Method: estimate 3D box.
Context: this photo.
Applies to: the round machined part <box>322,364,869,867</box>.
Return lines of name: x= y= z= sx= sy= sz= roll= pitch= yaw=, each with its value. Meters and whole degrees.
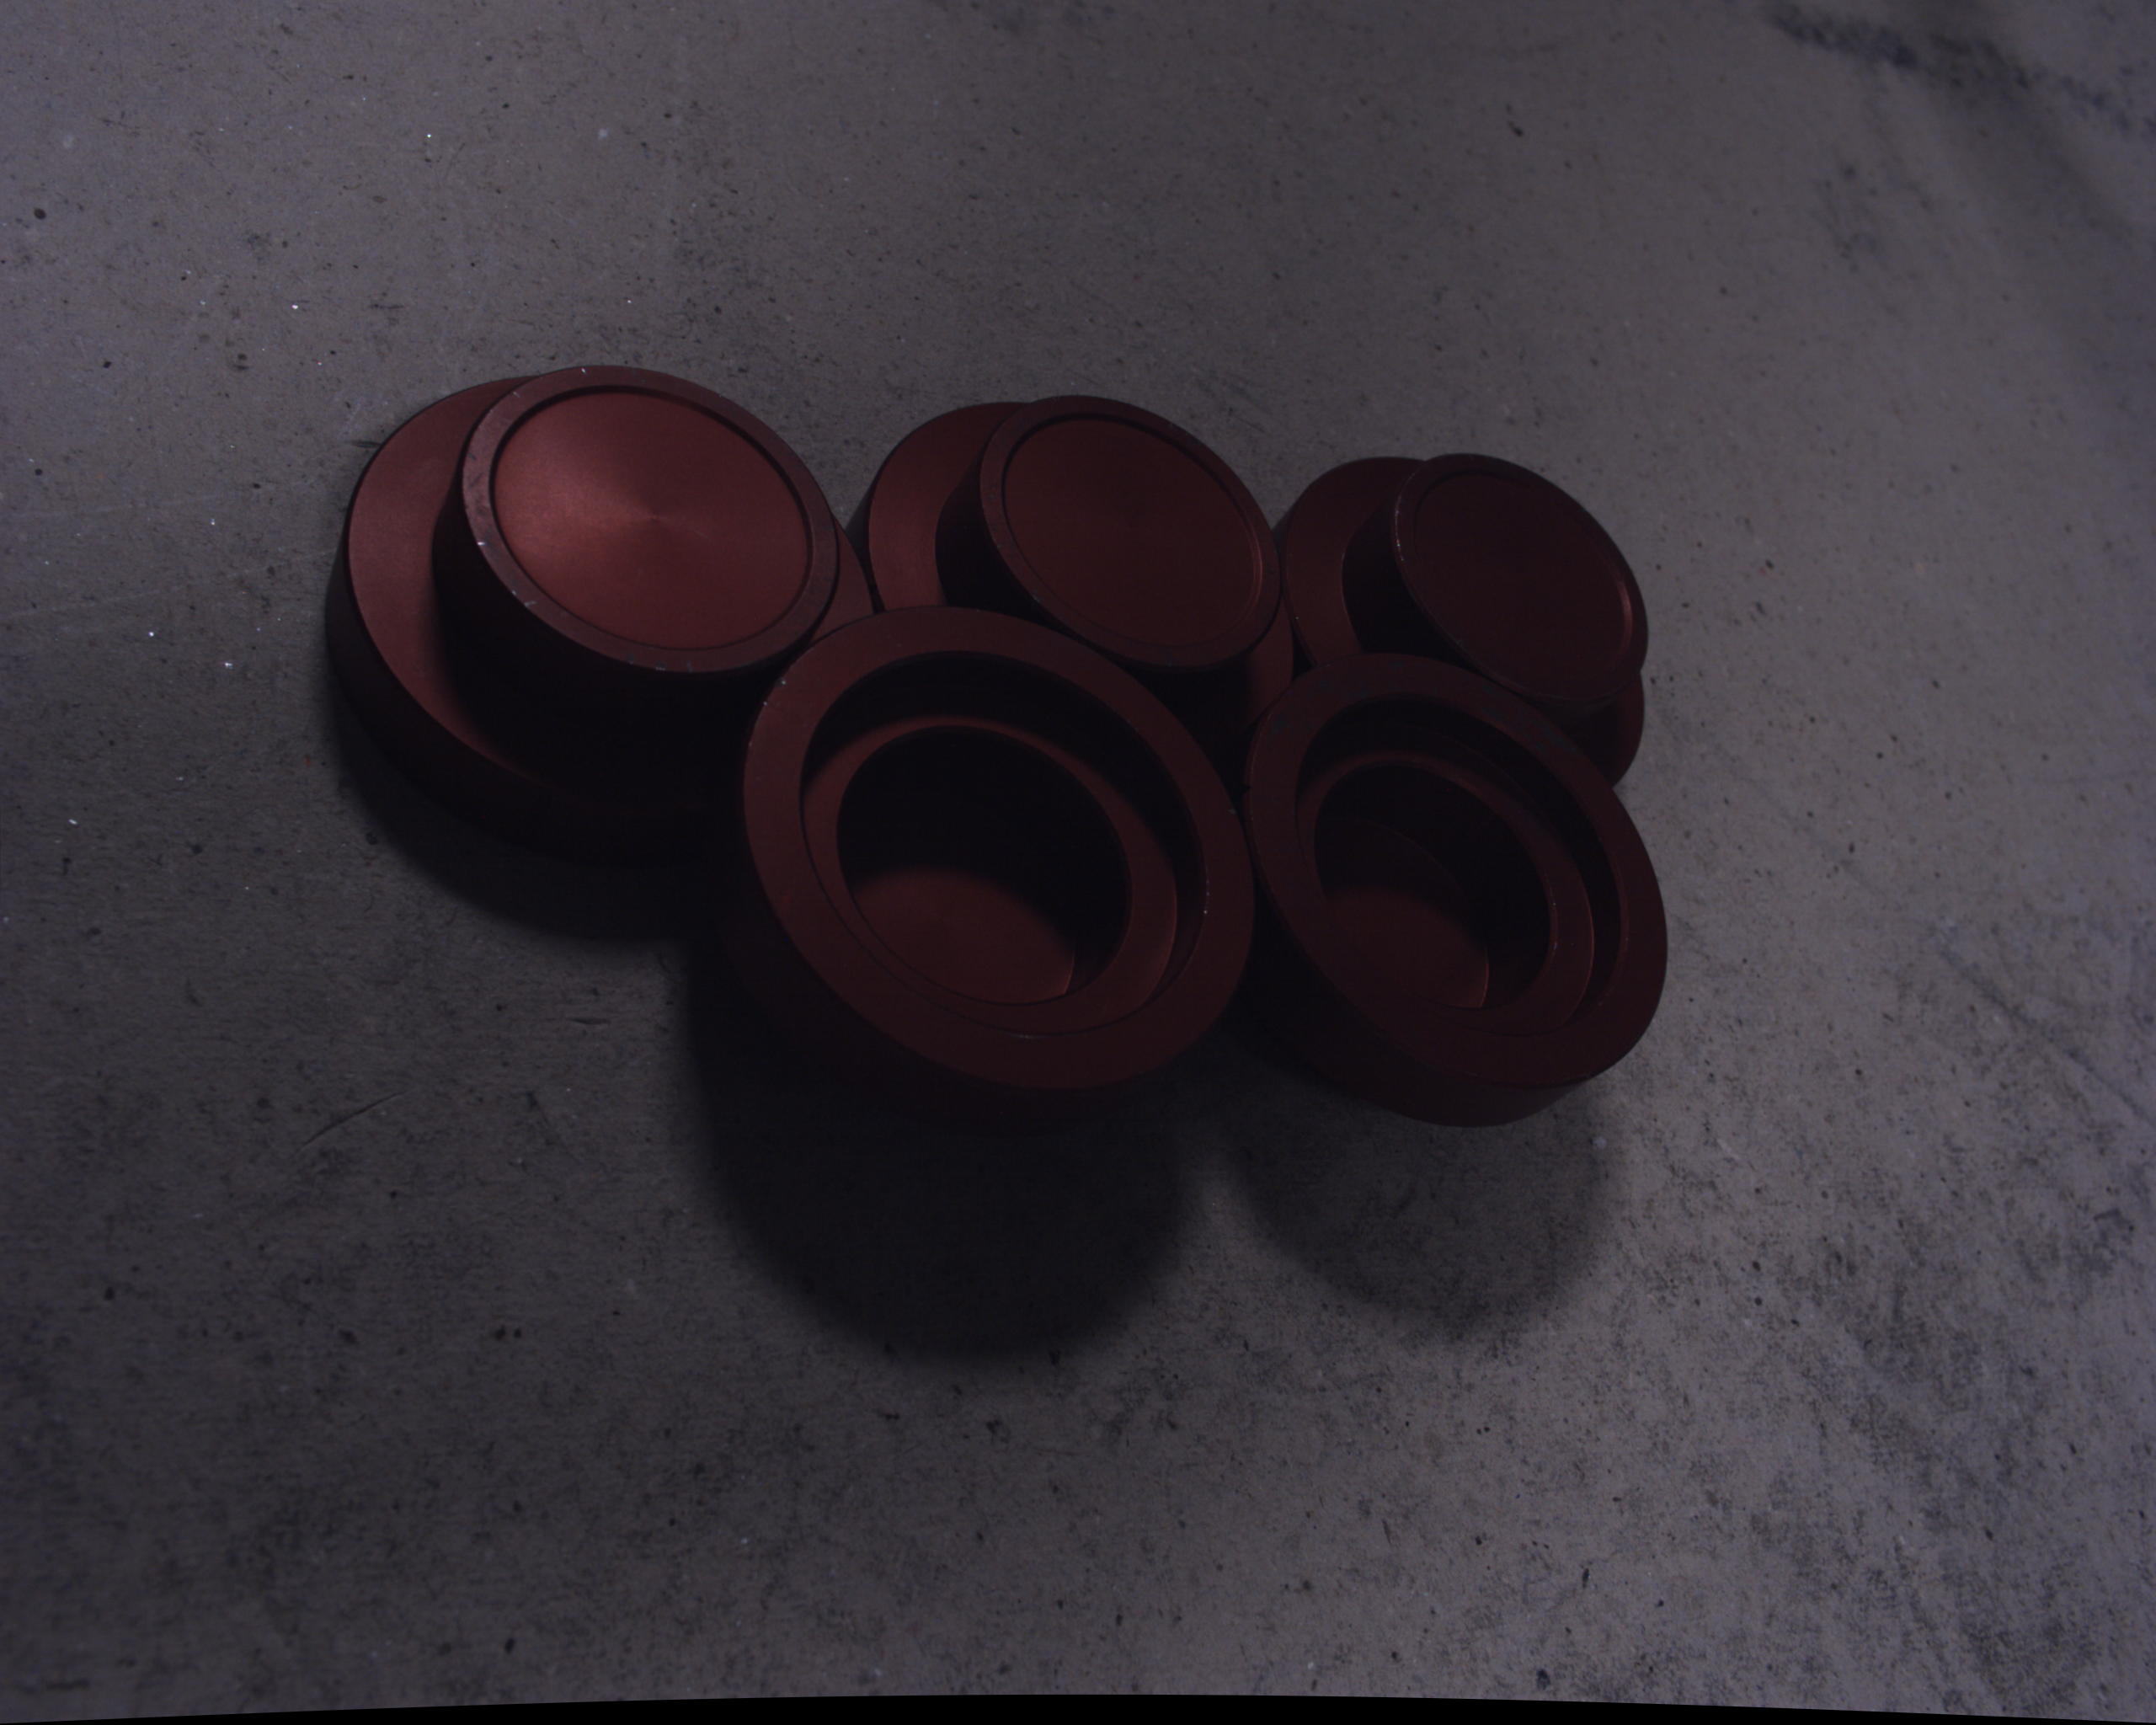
round machined part: x=-0.084 y=-0.052 z=0.382 sx=0.099 sy=0.042 sz=0.098 roll=14 pitch=56 yaw=-21

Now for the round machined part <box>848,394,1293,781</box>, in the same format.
round machined part: x=0.002 y=-0.057 z=0.432 sx=0.099 sy=0.042 sz=0.098 roll=14 pitch=56 yaw=-21

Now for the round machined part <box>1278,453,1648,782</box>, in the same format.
round machined part: x=0.090 y=-0.054 z=0.478 sx=0.099 sy=0.042 sz=0.098 roll=14 pitch=56 yaw=-21

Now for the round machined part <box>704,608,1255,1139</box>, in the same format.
round machined part: x=-0.021 y=0.005 z=0.381 sx=0.099 sy=0.042 sz=0.098 roll=14 pitch=56 yaw=-21

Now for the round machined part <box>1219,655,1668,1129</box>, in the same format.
round machined part: x=0.068 y=0.009 z=0.427 sx=0.099 sy=0.042 sz=0.098 roll=14 pitch=56 yaw=-21
